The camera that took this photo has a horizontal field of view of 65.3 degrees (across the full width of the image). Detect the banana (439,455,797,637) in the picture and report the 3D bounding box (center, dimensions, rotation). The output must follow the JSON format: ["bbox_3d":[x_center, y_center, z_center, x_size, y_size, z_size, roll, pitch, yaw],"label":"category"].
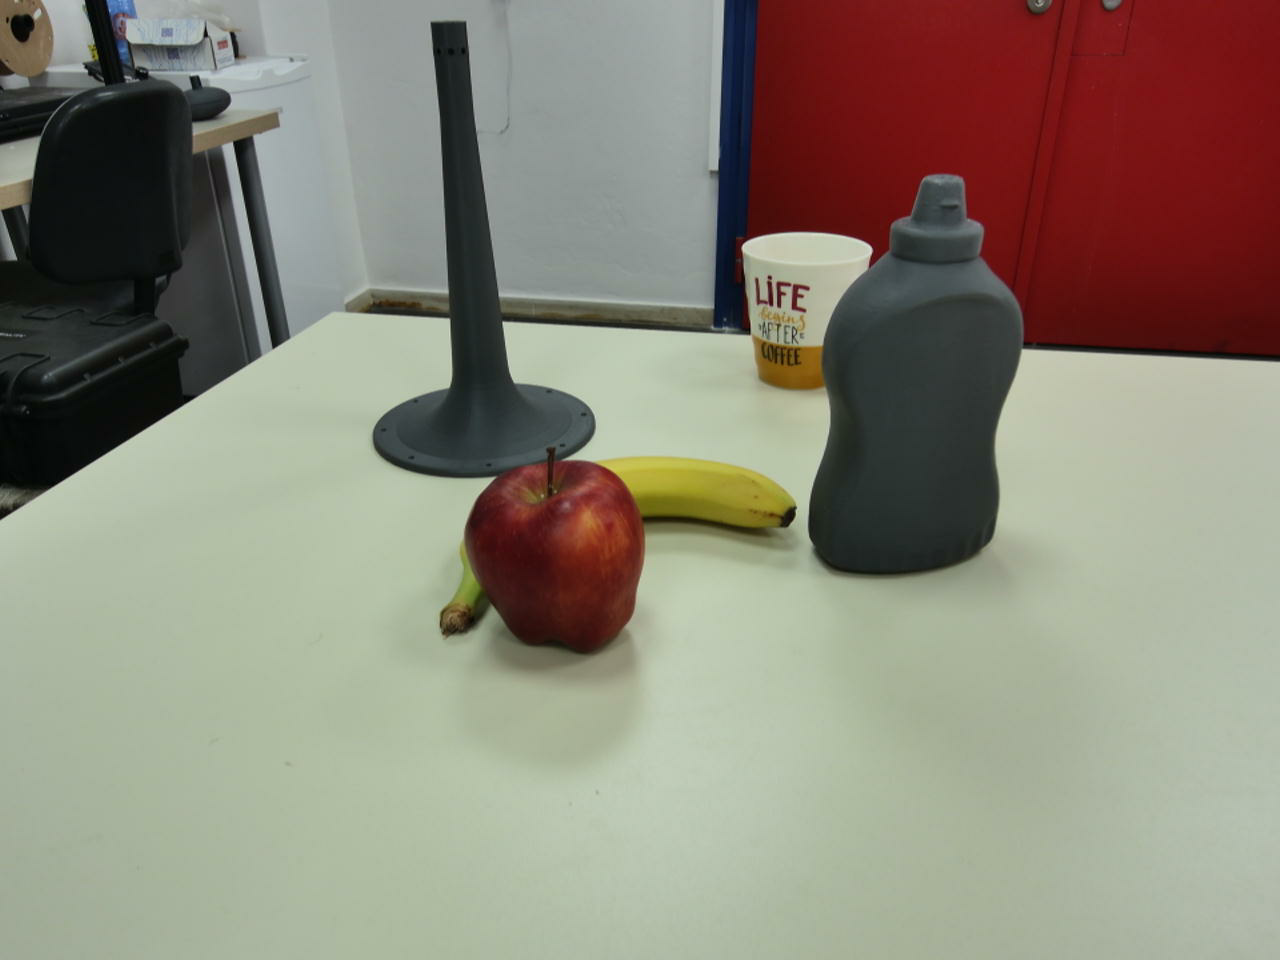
[{"bbox_3d":[-0.020,0.020,0.533,0.196,0.041,0.094,-11,27,-21],"label":"banana"}]
